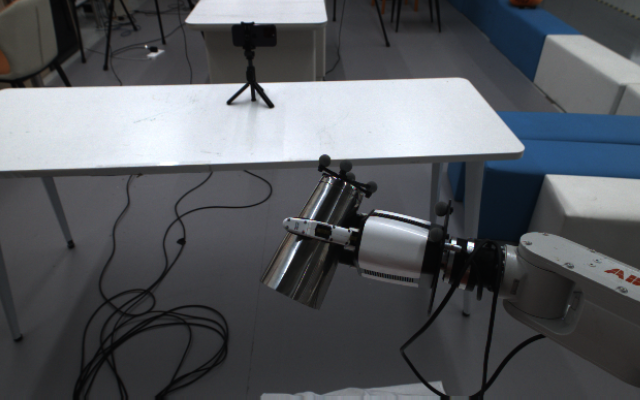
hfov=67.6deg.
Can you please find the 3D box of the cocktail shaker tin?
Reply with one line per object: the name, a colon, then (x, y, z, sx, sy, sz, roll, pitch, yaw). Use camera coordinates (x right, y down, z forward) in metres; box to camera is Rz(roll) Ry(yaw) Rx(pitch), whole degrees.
cocktail shaker tin: (-0.003, 0.052, 0.673, 0.093, 0.093, 0.170, 21, 81, 25)
